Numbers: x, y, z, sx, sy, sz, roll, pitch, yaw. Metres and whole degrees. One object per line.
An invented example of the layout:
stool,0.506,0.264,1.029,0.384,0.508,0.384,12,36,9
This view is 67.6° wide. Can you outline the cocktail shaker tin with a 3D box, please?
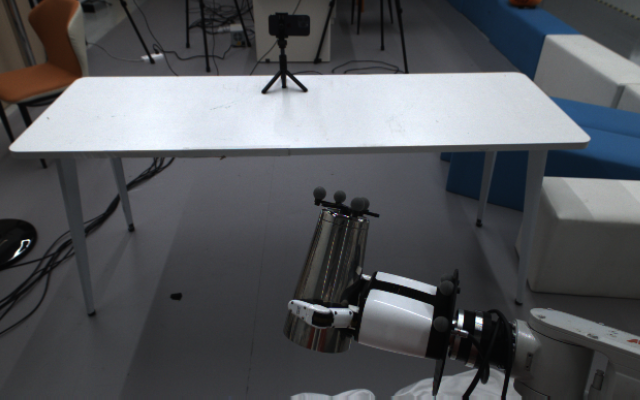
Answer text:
cocktail shaker tin,0.015,0.102,0.639,0.093,0.170,0.093,13,4,-1
